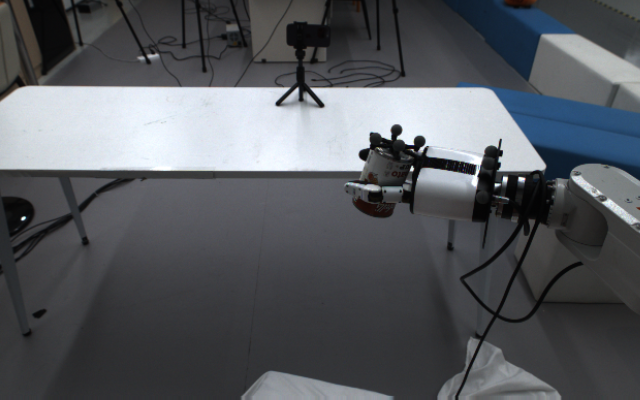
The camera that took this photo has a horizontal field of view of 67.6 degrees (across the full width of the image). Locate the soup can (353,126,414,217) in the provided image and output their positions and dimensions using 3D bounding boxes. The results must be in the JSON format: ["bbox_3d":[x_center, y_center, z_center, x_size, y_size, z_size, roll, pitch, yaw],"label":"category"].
[{"bbox_3d":[0.096,-0.033,0.734,0.067,0.101,0.067,13,30,-8],"label":"soup can"}]
